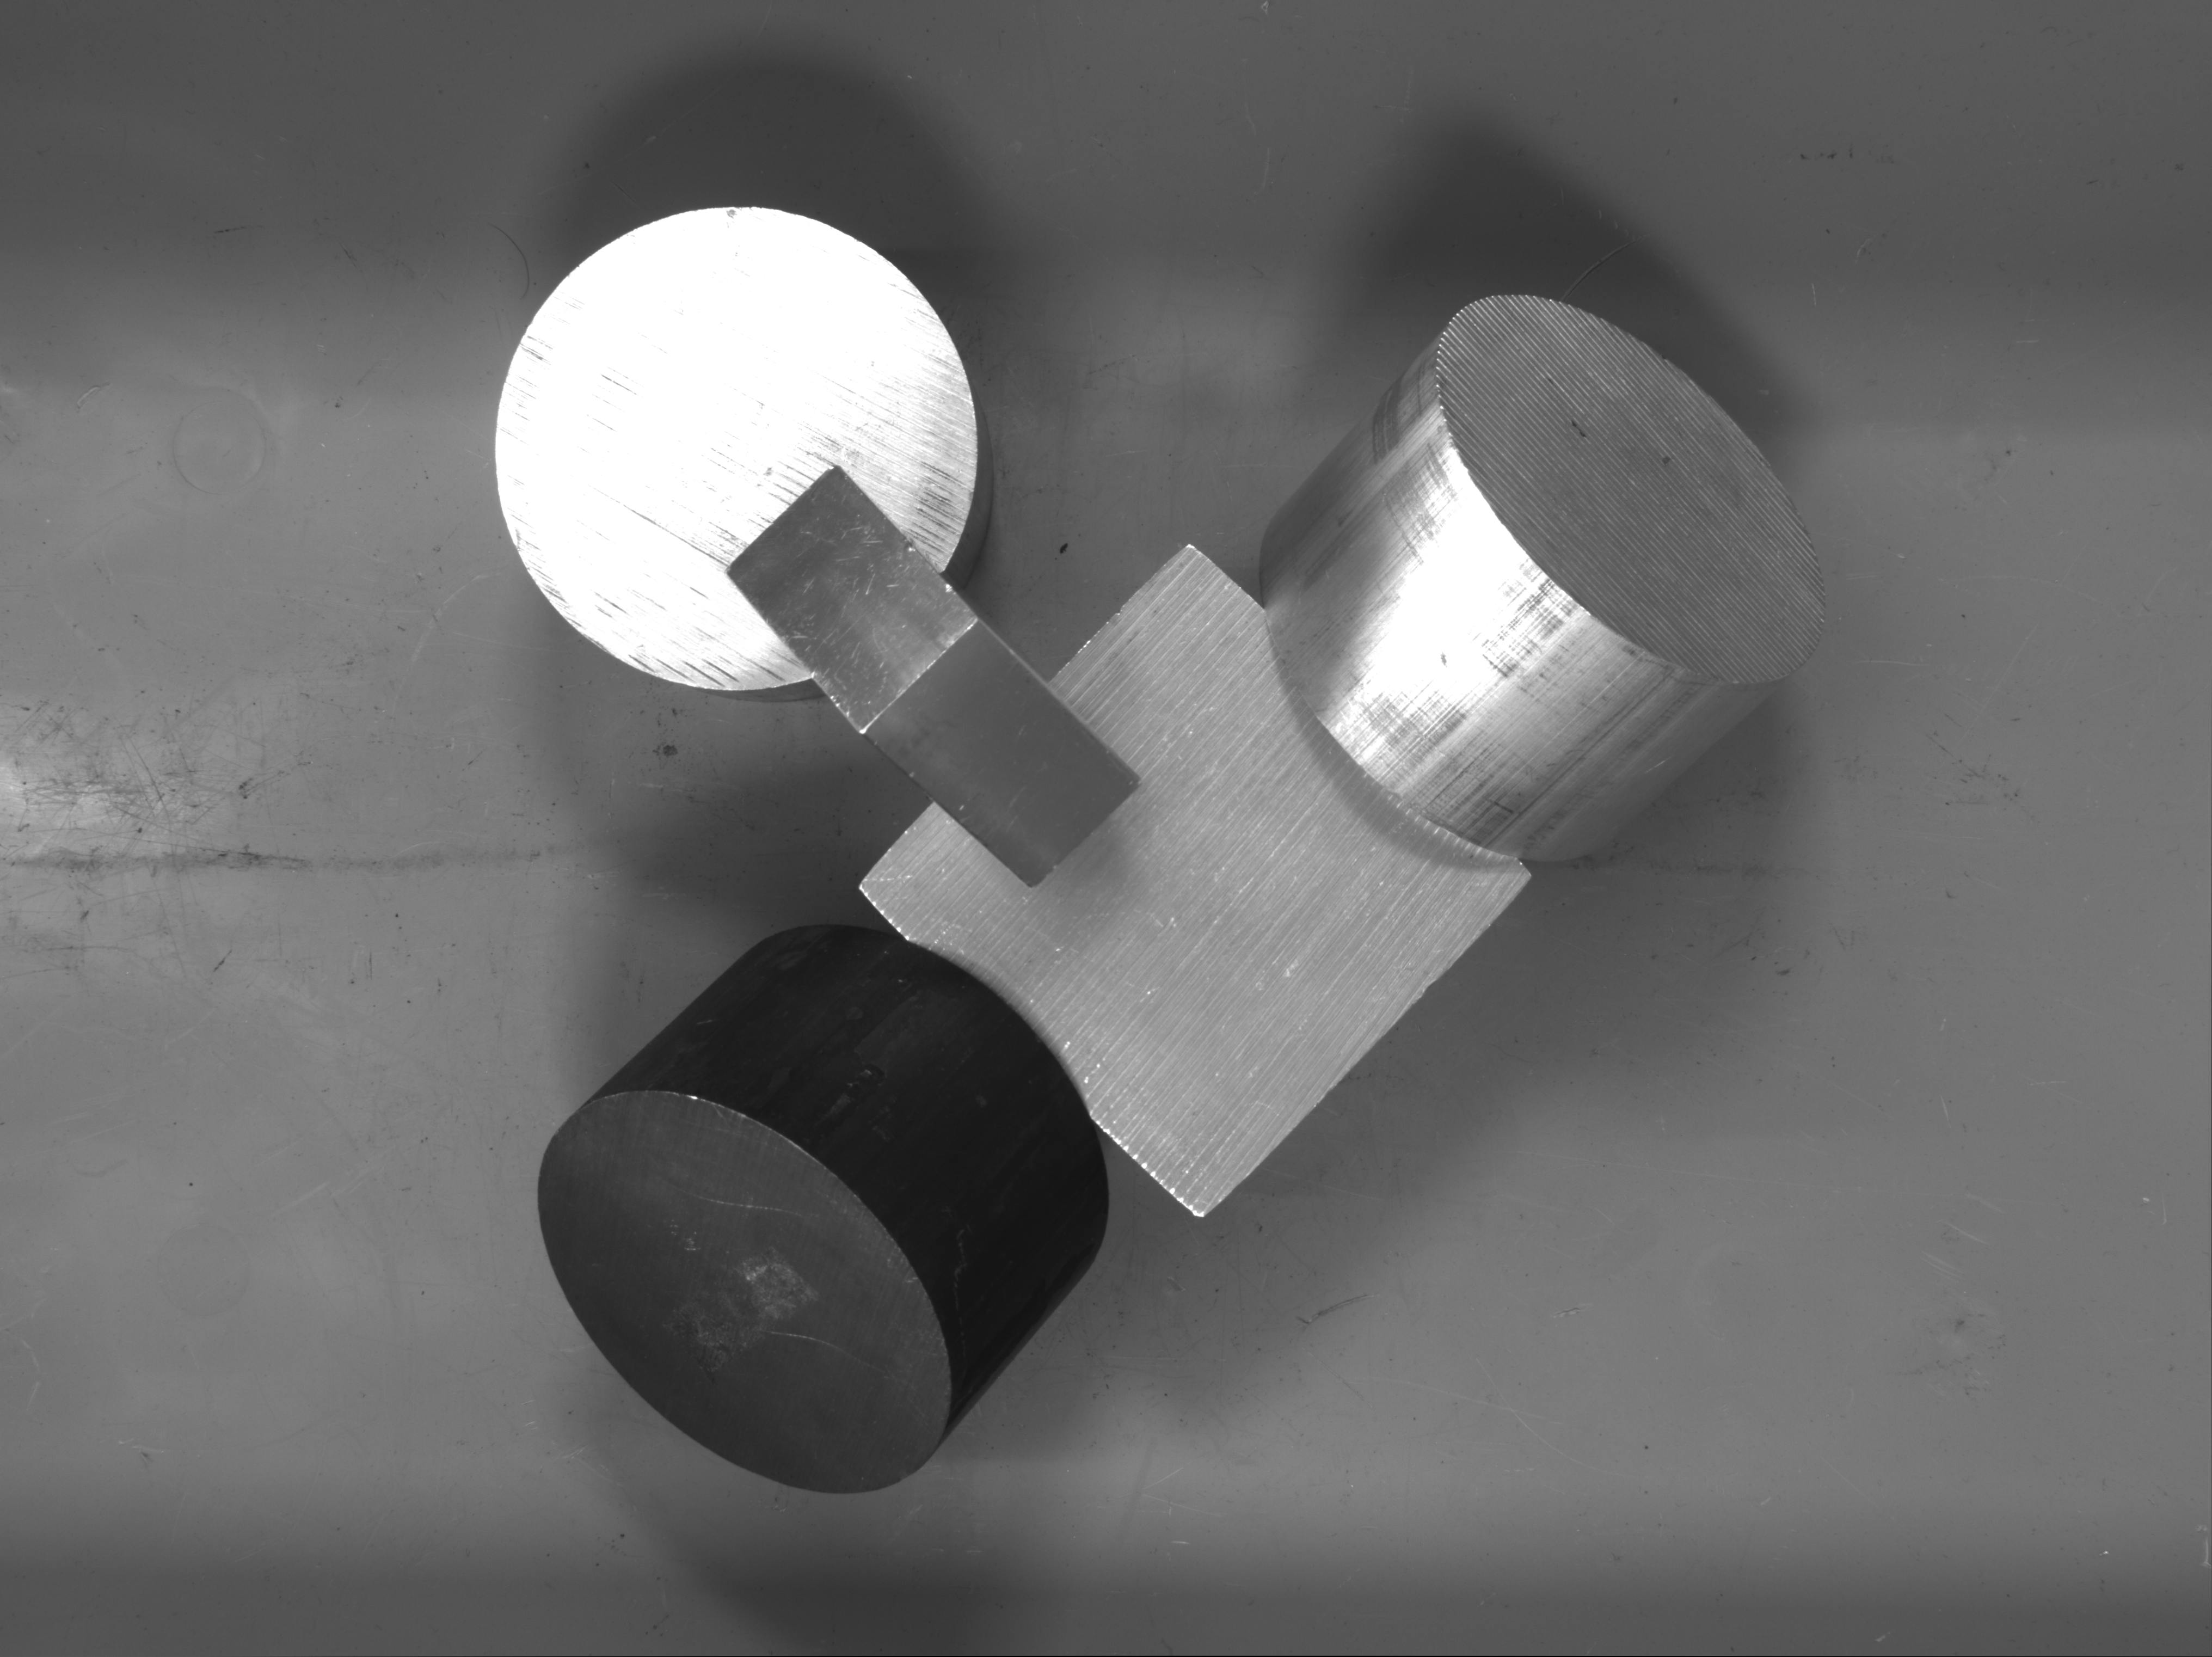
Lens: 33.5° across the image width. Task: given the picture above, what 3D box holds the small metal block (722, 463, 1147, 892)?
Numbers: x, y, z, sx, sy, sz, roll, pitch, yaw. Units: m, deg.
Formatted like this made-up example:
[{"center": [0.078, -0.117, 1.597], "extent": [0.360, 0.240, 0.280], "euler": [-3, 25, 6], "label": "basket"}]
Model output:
[{"center": [-0.027, -0.024, 0.583], "extent": [0.025, 0.050, 0.050], "euler": [-44, 46, 2], "label": "small metal block"}]

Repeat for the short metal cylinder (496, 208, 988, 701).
[{"center": [-0.061, -0.063, 0.633], "extent": [0.080, 0.050, 0.080], "euler": [0, 90, 0], "label": "short metal cylinder"}]

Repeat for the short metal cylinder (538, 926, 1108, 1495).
[{"center": [-0.047, 0.063, 0.611], "extent": [0.080, 0.050, 0.080], "euler": [18, 130, 24], "label": "short metal cylinder"}]

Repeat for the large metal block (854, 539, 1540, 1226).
[{"center": [0.015, 0.009, 0.630], "extent": [0.080, 0.050, 0.080], "euler": [44, 90, 0], "label": "large metal block"}]

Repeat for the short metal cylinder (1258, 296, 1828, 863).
[{"center": [0.072, -0.041, 0.610], "extent": [0.080, 0.080, 0.050], "euler": [43, 129, 0], "label": "short metal cylinder"}]
